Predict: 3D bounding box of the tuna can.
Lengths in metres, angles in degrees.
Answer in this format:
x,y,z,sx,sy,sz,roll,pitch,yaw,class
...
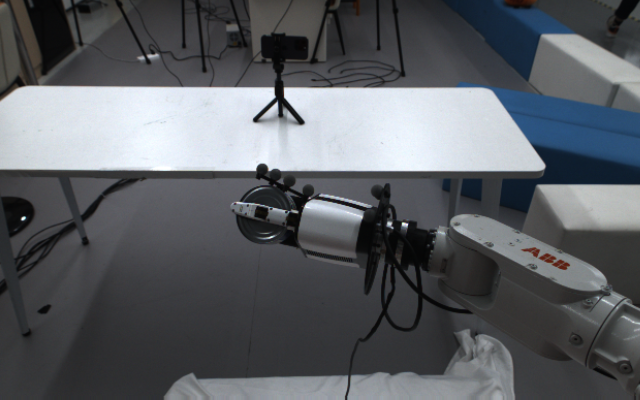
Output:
x,y,z,sx,sy,sz,roll,pitch,yaw,class
-0.075,0.022,0.708,0.085,0.085,0.034,13,-6,16,tuna can
